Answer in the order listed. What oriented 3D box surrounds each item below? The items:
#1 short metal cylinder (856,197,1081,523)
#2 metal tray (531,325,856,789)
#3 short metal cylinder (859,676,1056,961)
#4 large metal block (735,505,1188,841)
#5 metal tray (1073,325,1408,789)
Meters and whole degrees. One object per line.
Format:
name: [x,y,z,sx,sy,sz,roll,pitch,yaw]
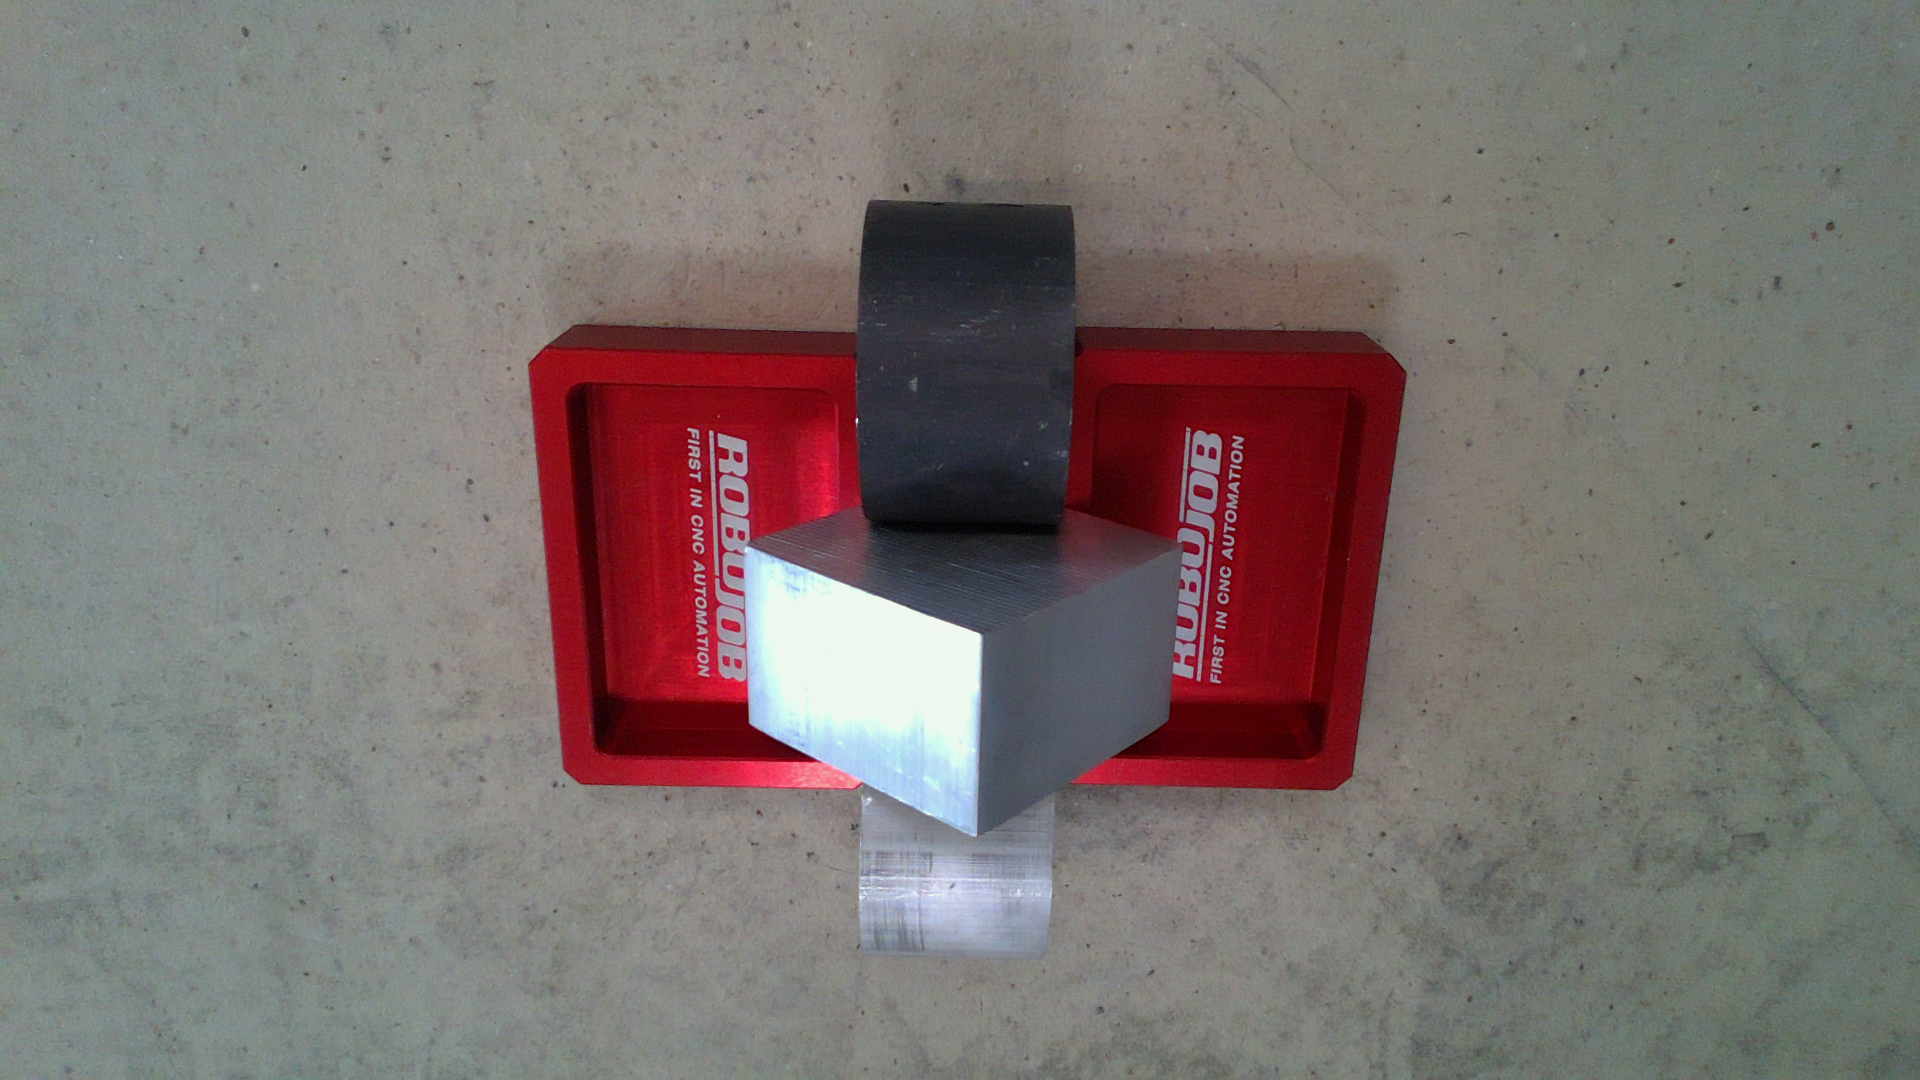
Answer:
short metal cylinder: [0.002,-0.045,0.348,0.050,0.080,0.080,2,110,-1]
metal tray: [-0.068,0.006,0.394,0.090,0.030,0.130,1,110,-1]
short metal cylinder: [-0.001,0.078,0.393,0.050,0.080,0.080,2,110,-1]
large metal block: [0.001,0.024,0.352,0.080,0.080,0.050,18,116,37]
metal tray: [0.071,0.006,0.394,0.090,0.030,0.130,1,110,-1]
